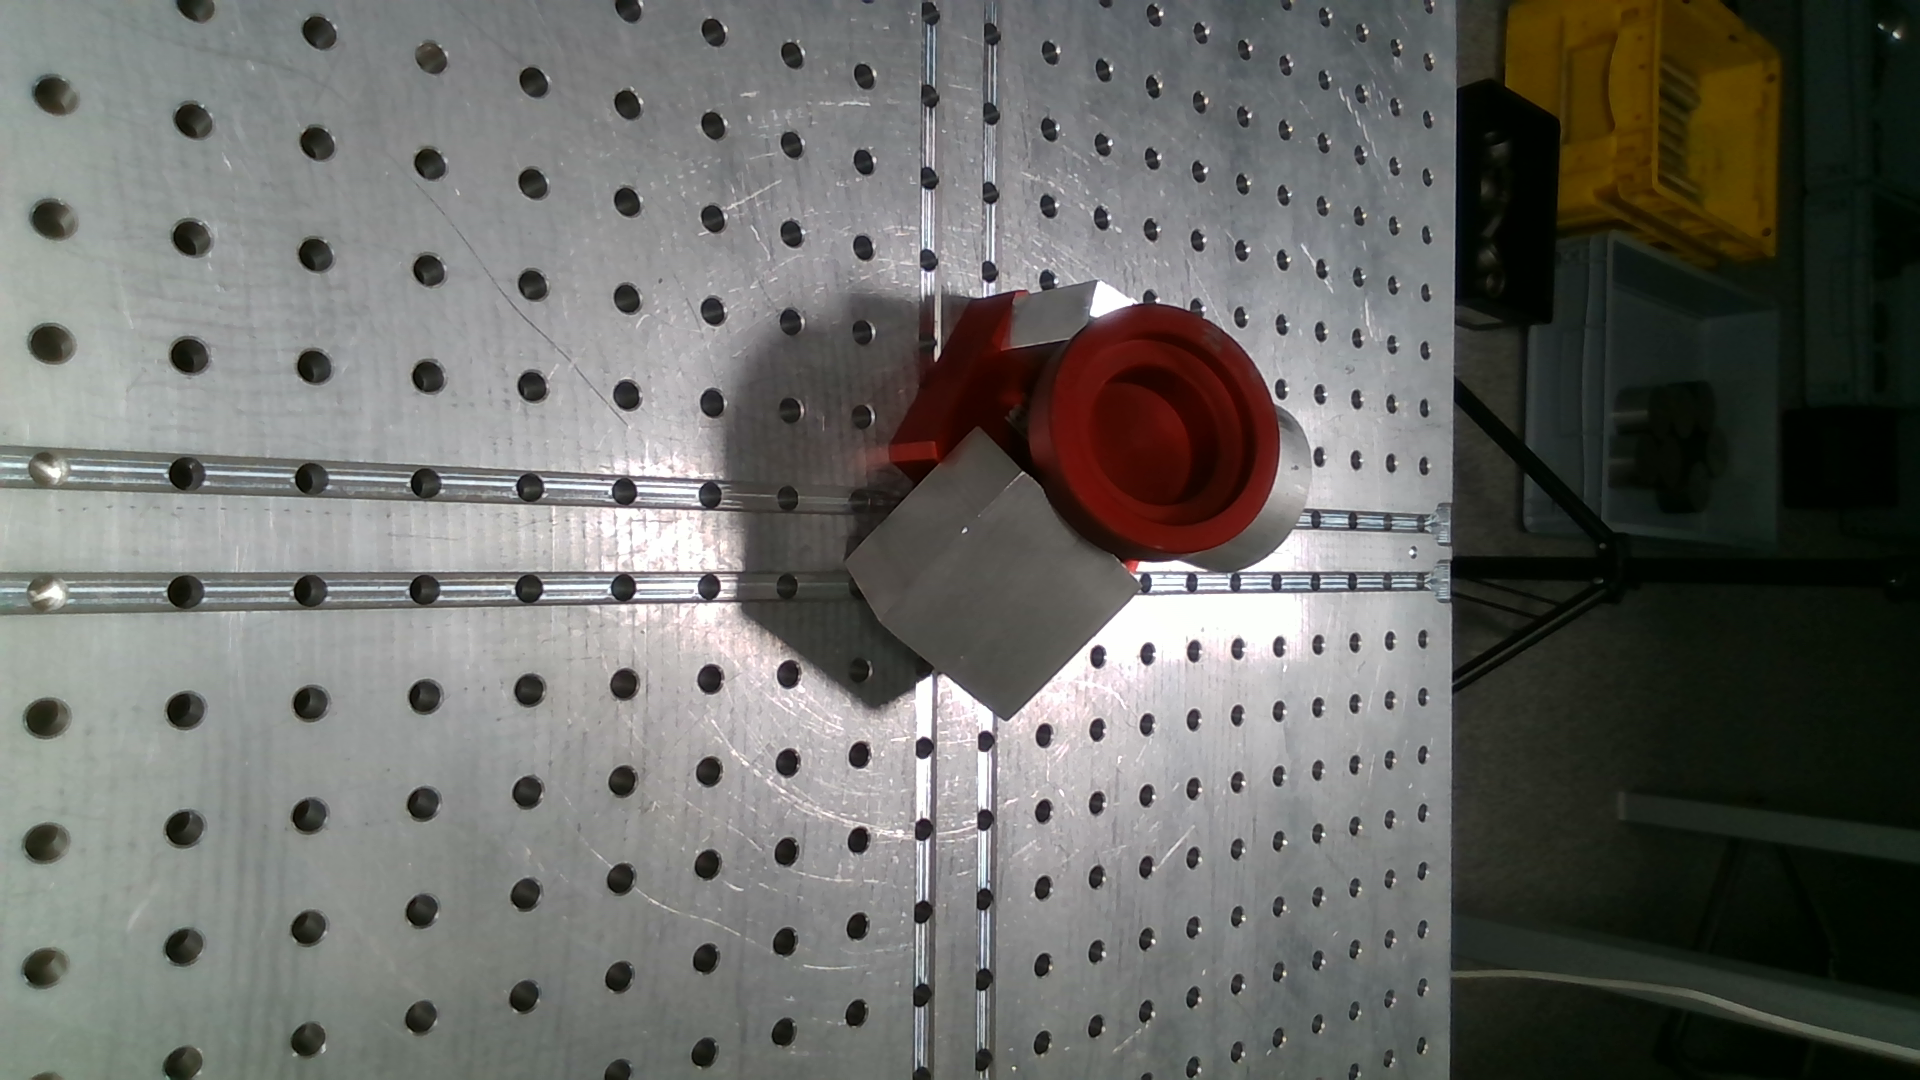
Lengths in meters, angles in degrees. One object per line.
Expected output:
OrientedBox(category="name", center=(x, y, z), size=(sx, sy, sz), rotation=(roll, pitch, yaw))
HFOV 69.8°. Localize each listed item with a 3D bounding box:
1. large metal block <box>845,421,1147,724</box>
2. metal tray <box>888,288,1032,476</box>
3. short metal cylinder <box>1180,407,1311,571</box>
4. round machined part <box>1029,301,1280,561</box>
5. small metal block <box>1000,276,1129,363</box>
OrientedBox(category="large metal block", center=(0.014, 0.013, 0.558), size=(0.080, 0.050, 0.080), rotation=(-46, 123, 5))
OrientedBox(category="metal tray", center=(0.037, -0.037, 0.615), size=(0.130, 0.030, 0.090), rotation=(42, 65, -32))
OrientedBox(category="short metal cylinder", center=(0.104, -0.030, 0.598), size=(0.050, 0.080, 0.080), rotation=(17, 79, -39))
OrientedBox(category="round machined part", center=(0.072, -0.040, 0.538), size=(0.098, 0.042, 0.098), rotation=(4, 77, -19))
OrientedBox(category="small metal block", center=(0.054, -0.084, 0.574), size=(0.050, 0.050, 0.025), rotation=(24, 74, -38))
